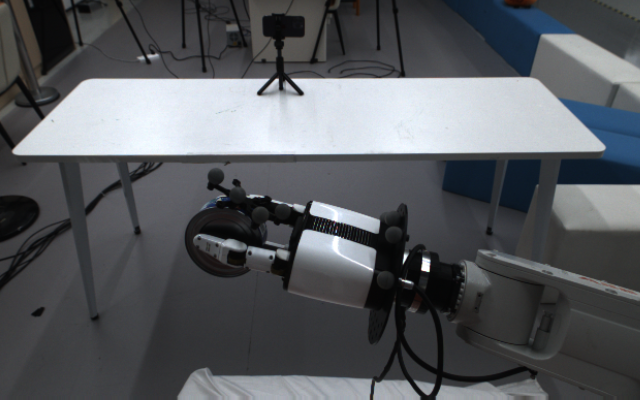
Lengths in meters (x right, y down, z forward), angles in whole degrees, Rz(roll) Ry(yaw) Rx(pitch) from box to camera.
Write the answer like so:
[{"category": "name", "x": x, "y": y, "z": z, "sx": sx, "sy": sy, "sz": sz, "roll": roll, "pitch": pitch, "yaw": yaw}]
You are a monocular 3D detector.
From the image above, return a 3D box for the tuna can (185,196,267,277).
[{"category": "tuna can", "x": -0.101, "y": 0.041, "z": 0.538, "sx": 0.085, "sy": 0.085, "sz": 0.034, "roll": 4, "pitch": 20, "yaw": 3}]
